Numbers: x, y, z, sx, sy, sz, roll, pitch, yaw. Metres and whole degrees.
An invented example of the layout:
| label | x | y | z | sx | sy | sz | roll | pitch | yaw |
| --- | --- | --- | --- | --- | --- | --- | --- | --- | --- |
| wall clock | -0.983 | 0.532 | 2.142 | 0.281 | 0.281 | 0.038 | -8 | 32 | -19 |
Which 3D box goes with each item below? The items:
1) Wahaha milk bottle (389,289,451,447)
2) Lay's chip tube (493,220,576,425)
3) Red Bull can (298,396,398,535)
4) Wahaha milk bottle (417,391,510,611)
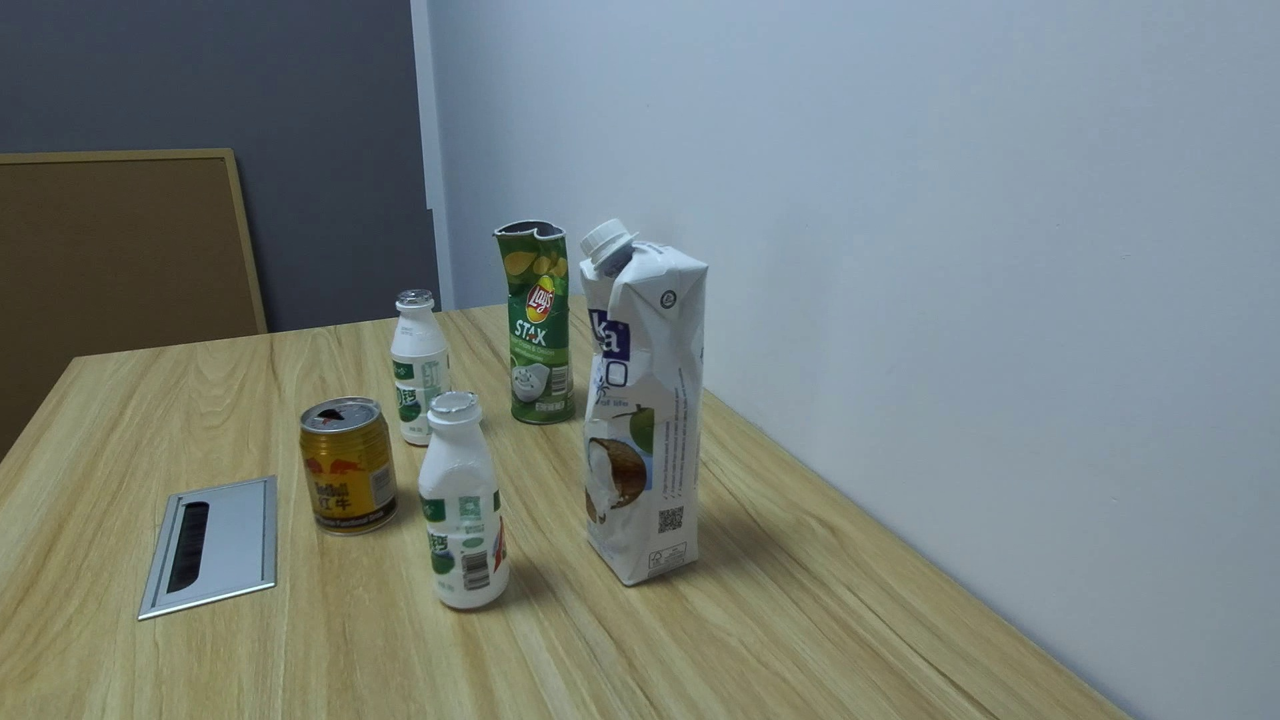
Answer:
| label | x | y | z | sx | sy | sz | roll | pitch | yaw |
| --- | --- | --- | --- | --- | --- | --- | --- | --- | --- |
| Wahaha milk bottle | -0.209 | 0.008 | 0.678 | 0.053 | 0.147 | 0.053 | 0 | 21 | 0 |
| Lay's chip tube | -0.103 | -0.038 | 0.718 | 0.077 | 0.201 | 0.069 | -1 | 24 | 3 |
| Red Bull can | -0.233 | 0.084 | 0.567 | 0.067 | 0.093 | 0.067 | 0 | 23 | 0 |
| Wahaha milk bottle | -0.119 | 0.093 | 0.473 | 0.055 | 0.149 | 0.055 | -1 | 23 | 1 |
